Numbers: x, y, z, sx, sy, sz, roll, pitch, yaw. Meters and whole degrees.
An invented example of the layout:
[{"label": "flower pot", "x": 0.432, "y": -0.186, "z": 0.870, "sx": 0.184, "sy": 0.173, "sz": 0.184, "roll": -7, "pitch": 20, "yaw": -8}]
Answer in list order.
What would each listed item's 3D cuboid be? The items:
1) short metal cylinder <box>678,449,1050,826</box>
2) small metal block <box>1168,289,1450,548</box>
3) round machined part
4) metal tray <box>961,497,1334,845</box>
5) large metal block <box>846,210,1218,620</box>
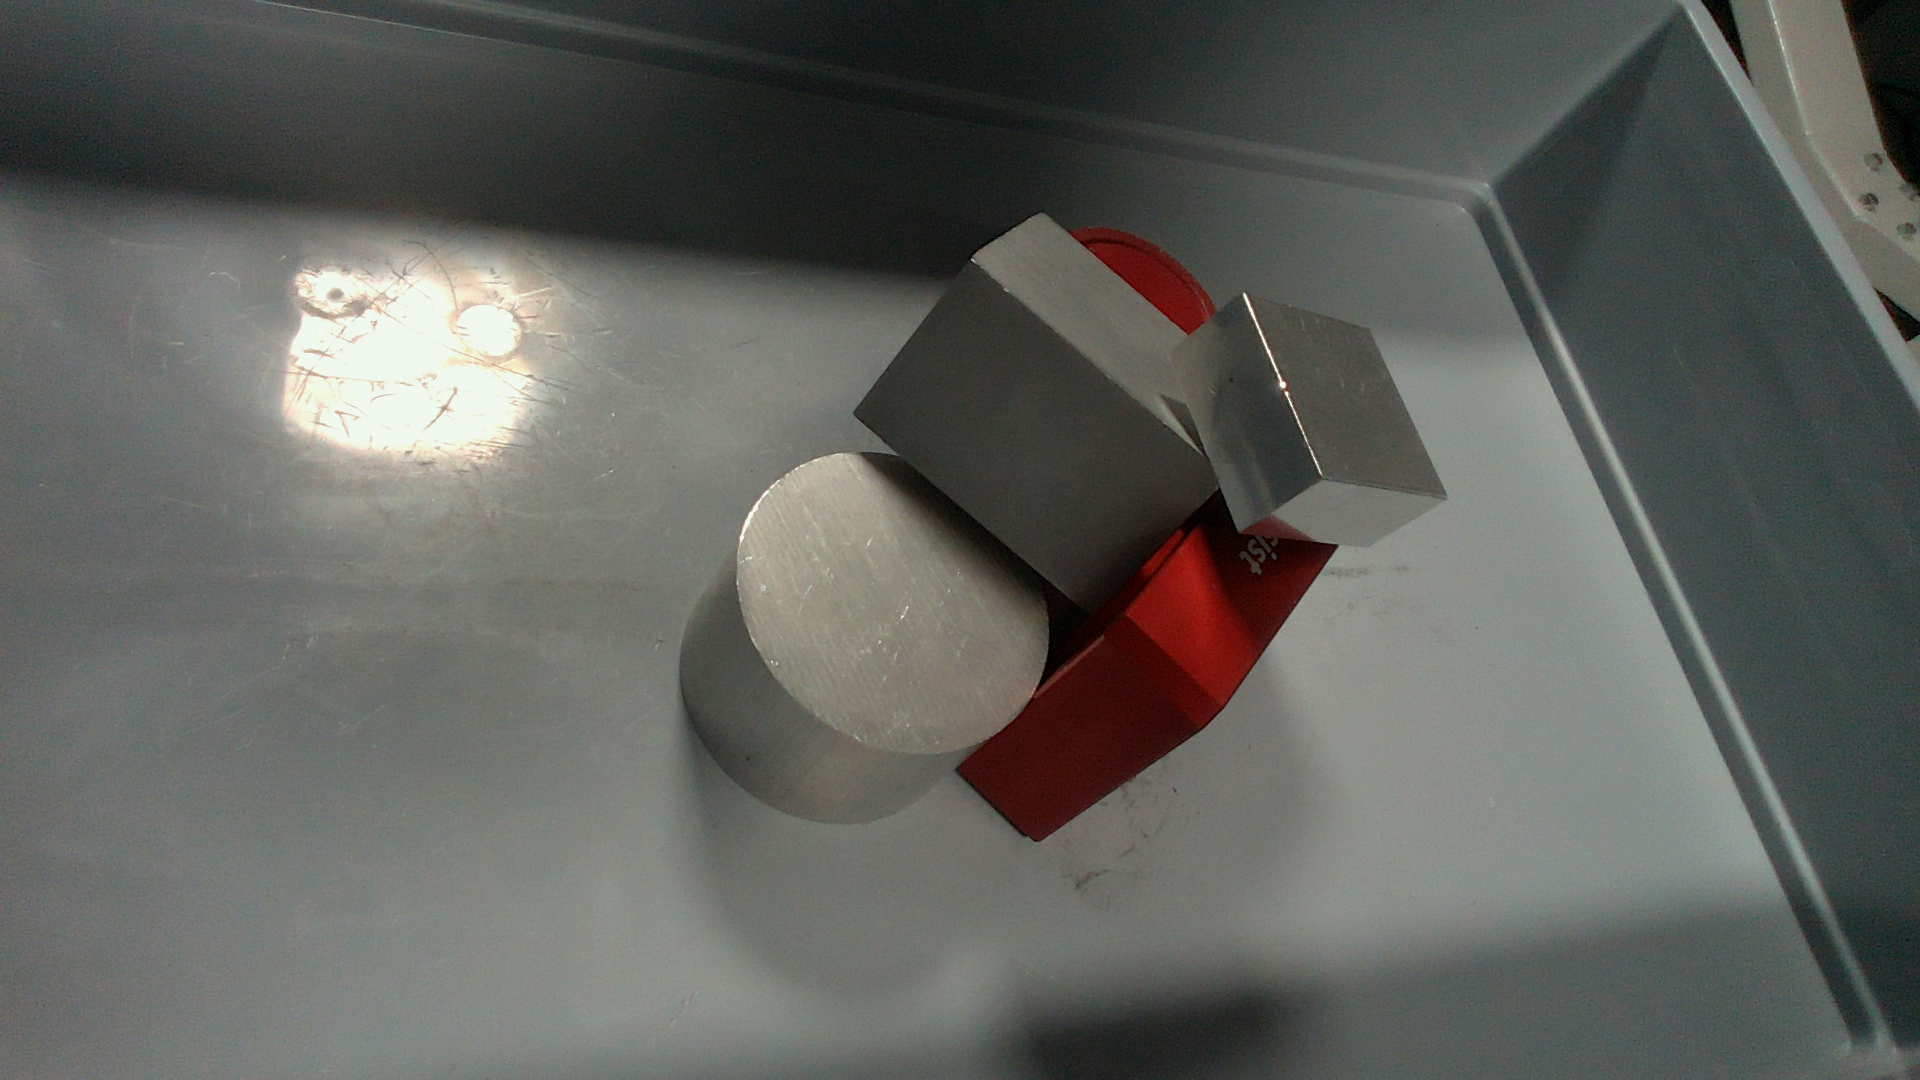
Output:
[{"label": "short metal cylinder", "x": -0.025, "y": 0.025, "z": 0.343, "sx": 0.080, "sy": 0.050, "sz": 0.080, "roll": 14, "pitch": 56, "yaw": -21}, {"label": "small metal block", "x": 0.083, "y": -0.028, "z": 0.327, "sx": 0.050, "sy": 0.025, "sz": 0.050, "roll": 5, "pitch": 58, "yaw": -41}, {"label": "round machined part", "x": 0.045, "y": -0.060, "z": 0.438, "sx": 0.098, "sy": 0.042, "sz": 0.098, "roll": 14, "pitch": 56, "yaw": -21}, {"label": "metal tray", "x": 0.062, "y": 0.015, "z": 0.370, "sx": 0.030, "sy": 0.090, "sz": 0.130, "roll": 43, "pitch": 51, "yaw": 3}, {"label": "large metal block", "x": 0.028, "y": -0.037, "z": 0.364, "sx": 0.080, "sy": 0.050, "sz": 0.080, "roll": 39, "pitch": 26, "yaw": -1}]
